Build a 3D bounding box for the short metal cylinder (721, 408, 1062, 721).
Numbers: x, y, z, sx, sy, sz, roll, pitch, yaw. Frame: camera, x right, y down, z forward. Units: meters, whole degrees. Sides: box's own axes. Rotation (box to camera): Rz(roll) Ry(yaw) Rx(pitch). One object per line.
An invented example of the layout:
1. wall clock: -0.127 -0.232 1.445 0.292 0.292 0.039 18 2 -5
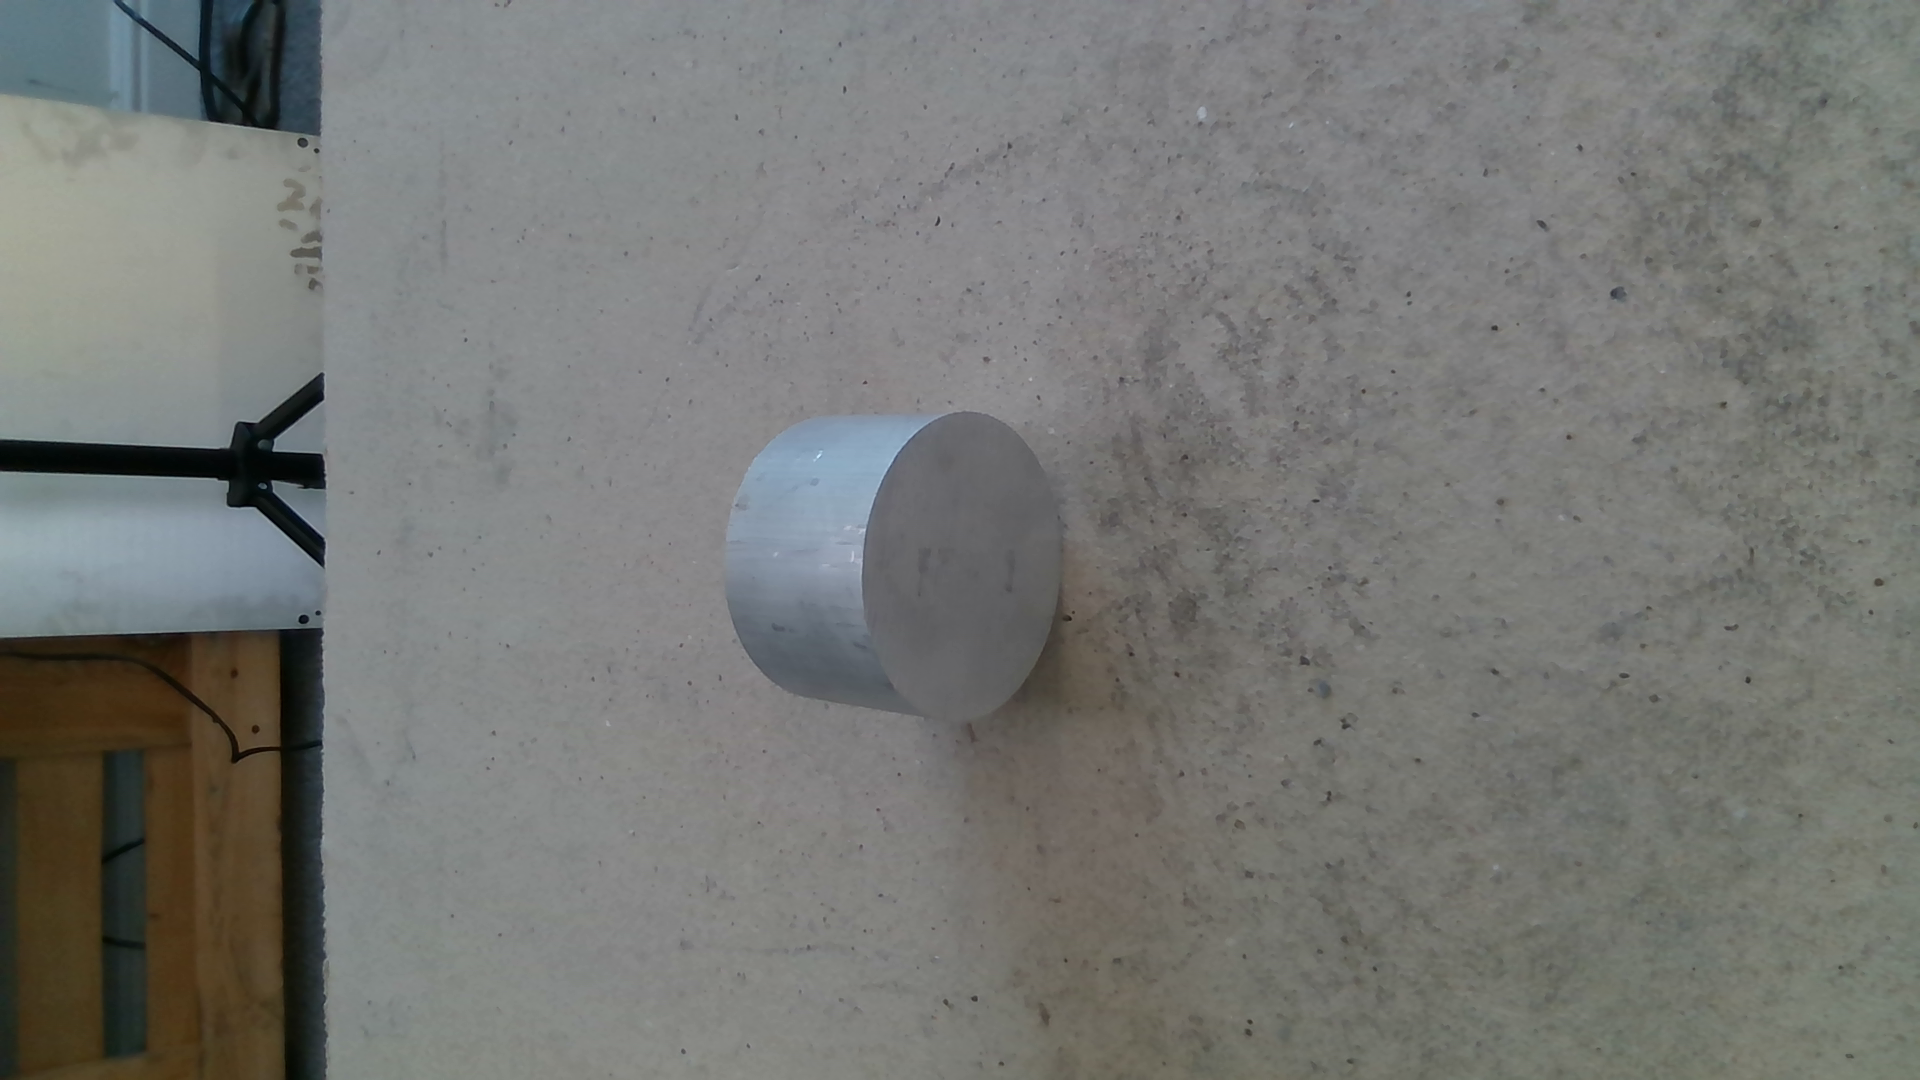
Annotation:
1. short metal cylinder: -0.017 0.006 0.369 0.050 0.080 0.080 2 92 40
